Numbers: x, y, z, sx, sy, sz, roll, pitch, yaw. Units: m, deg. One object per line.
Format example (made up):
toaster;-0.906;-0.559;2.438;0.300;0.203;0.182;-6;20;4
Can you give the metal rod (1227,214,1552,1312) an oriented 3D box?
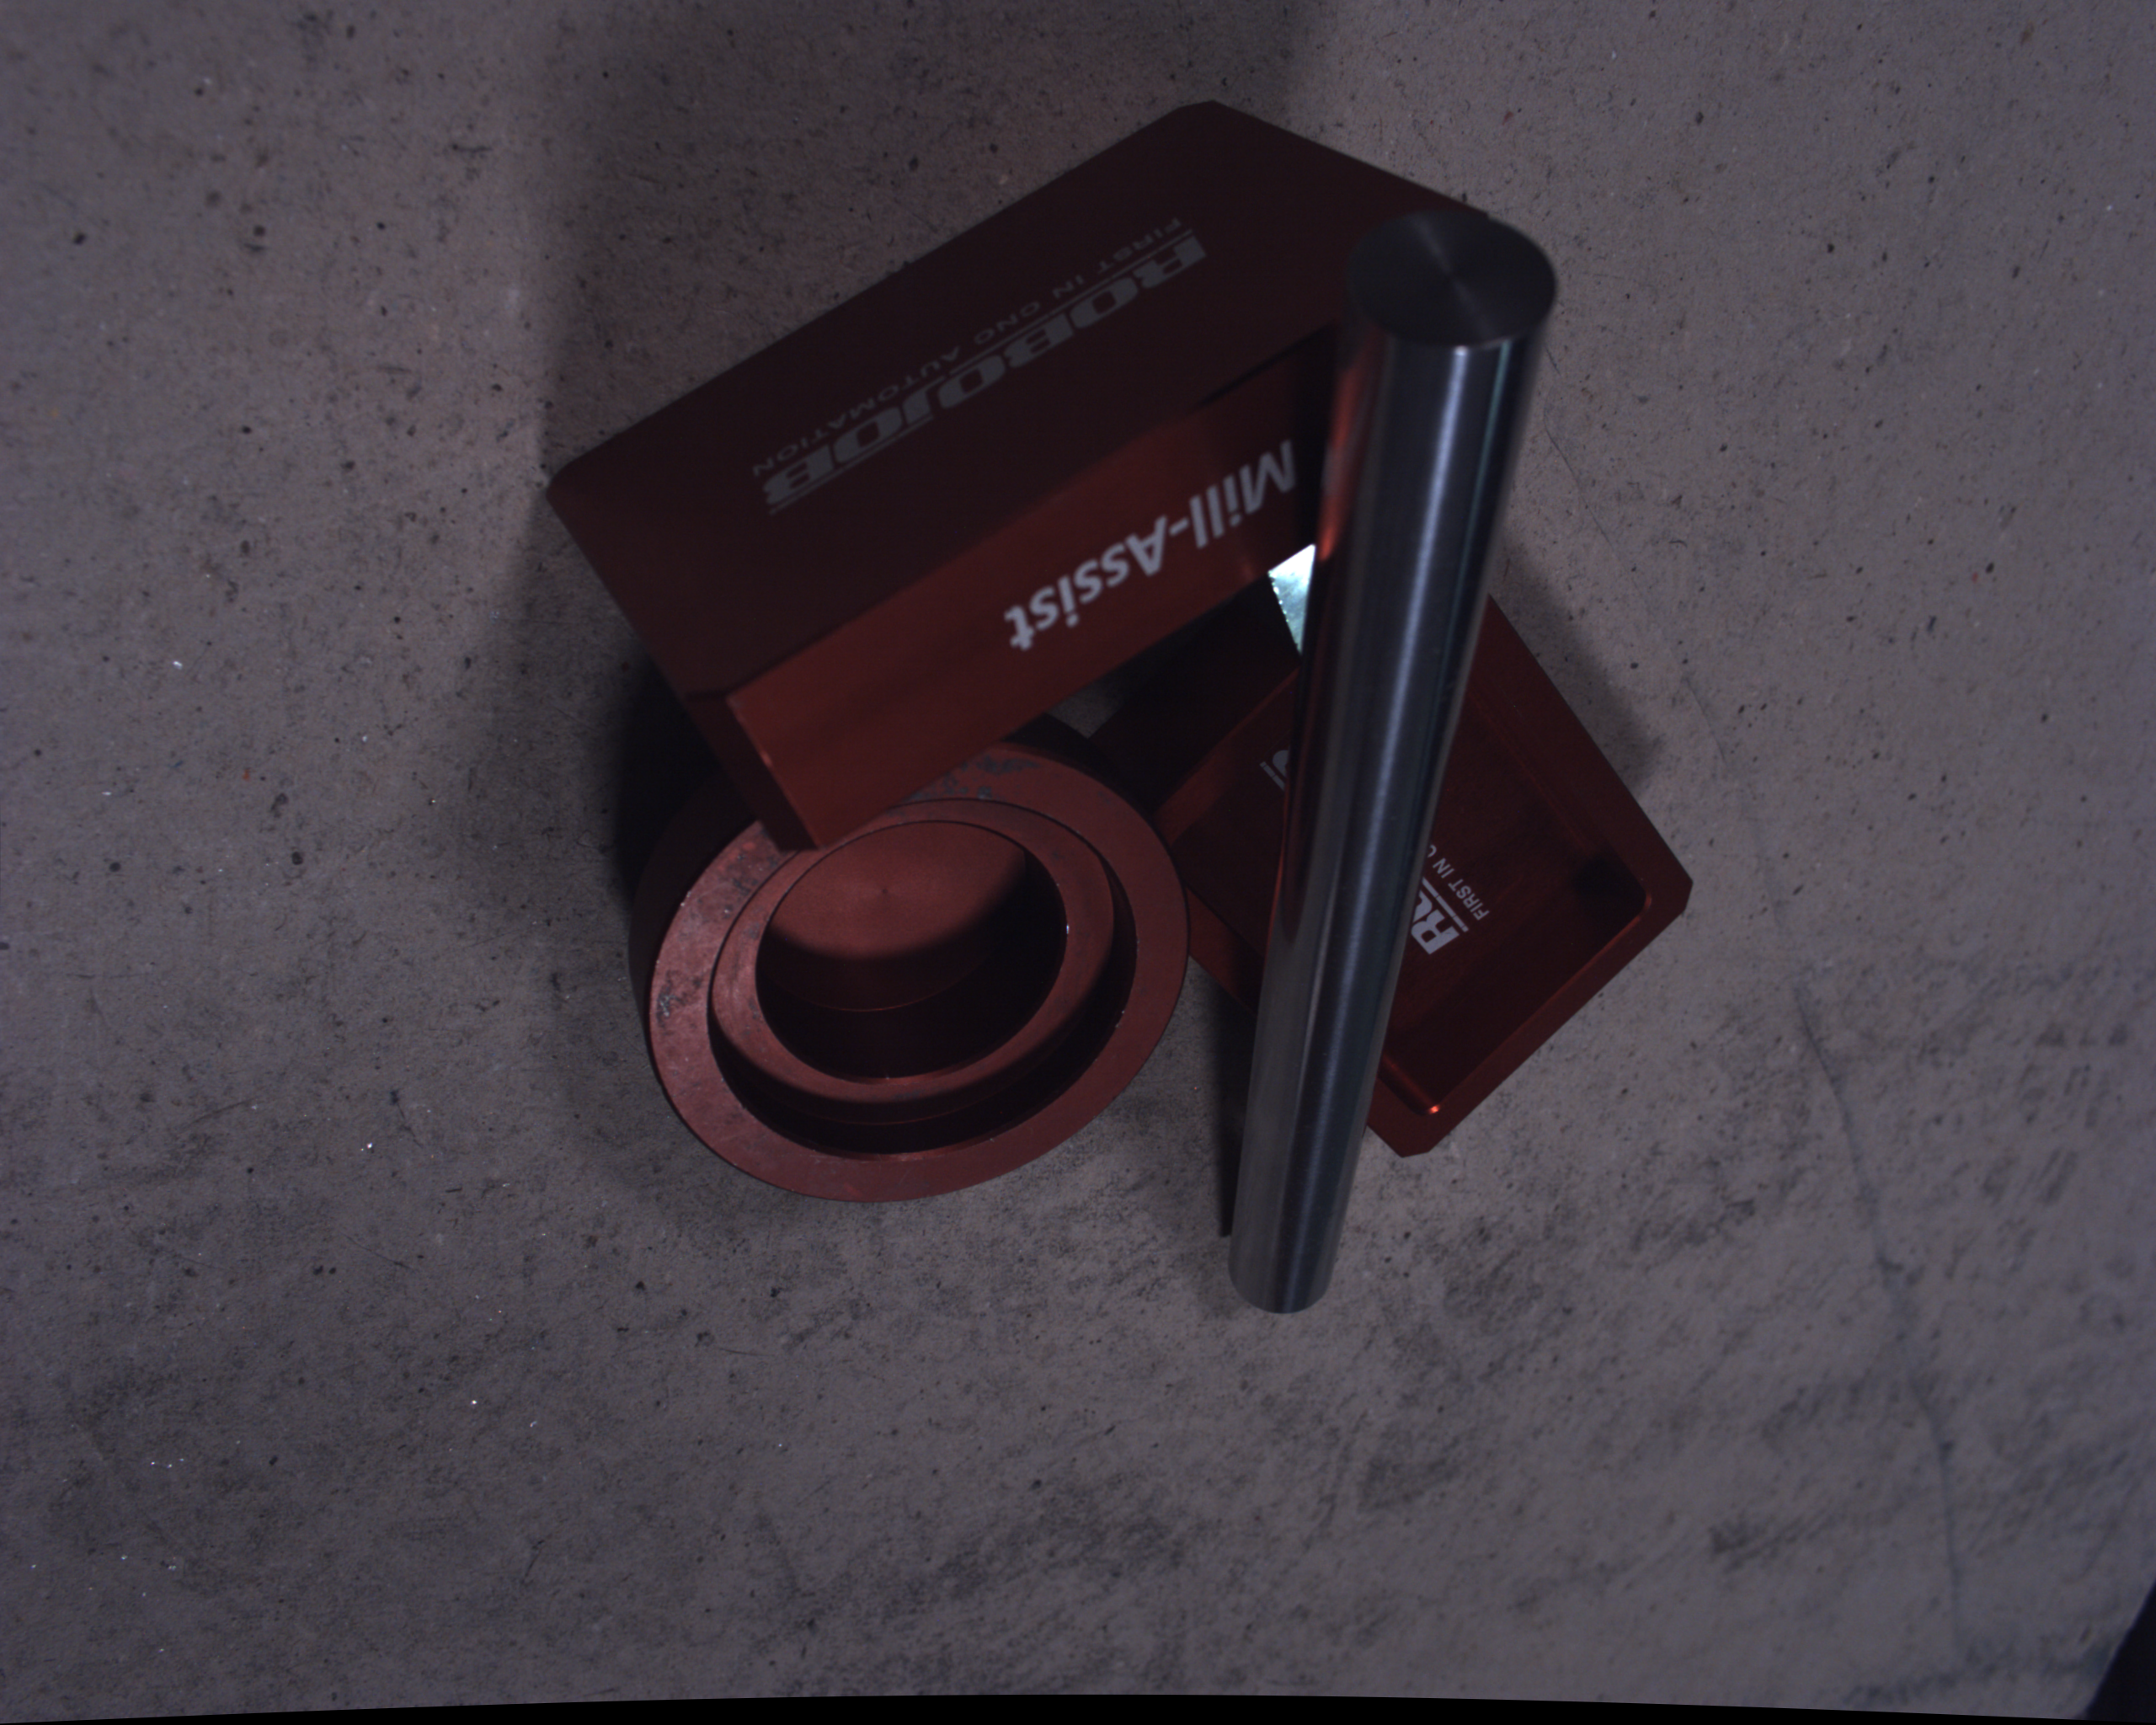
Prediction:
metal rod;0.046;0.013;0.374;0.025;0.025;0.299;-24;149;-14

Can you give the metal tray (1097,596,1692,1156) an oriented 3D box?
metal tray;0.066;-0.003;0.441;0.090;0.030;0.130;-44;130;2

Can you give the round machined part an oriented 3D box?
round machined part;-0.033;0.011;0.383;0.099;0.042;0.097;-11;125;-15

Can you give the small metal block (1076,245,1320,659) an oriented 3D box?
small metal block;0.029;-0.070;0.360;0.025;0.050;0.050;-35;144;-2

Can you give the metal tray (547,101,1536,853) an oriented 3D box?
metal tray;-0.009;-0.065;0.322;0.131;0.090;0.030;-33;129;-8
